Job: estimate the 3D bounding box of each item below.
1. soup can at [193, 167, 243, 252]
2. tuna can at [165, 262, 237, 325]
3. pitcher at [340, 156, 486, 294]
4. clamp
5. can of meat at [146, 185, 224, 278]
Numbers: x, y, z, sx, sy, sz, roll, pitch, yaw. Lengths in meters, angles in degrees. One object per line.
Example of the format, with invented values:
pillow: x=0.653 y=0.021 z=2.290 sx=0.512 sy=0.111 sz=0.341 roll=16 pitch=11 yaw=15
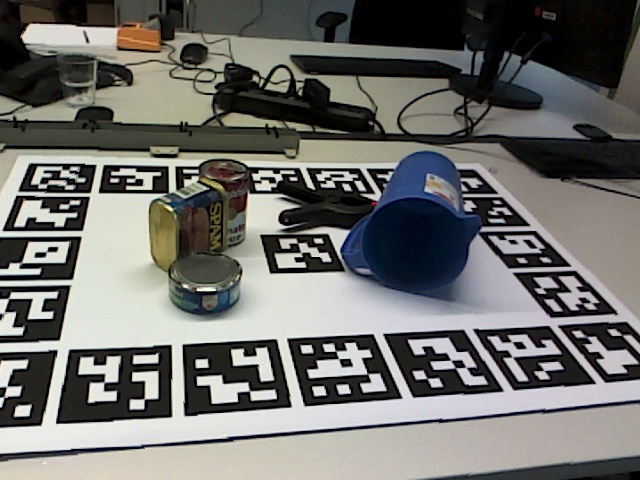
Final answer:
soup can: x=-0.142 y=-0.042 z=0.867 sx=0.068 sy=0.102 sz=0.068 roll=3 pitch=33 yaw=-2
tuna can: x=-0.144 y=0.065 z=0.753 sx=0.085 sy=0.033 sz=0.086 roll=5 pitch=33 yaw=-4
pitcher: x=0.133 y=-0.034 z=0.870 sx=0.189 sy=0.133 sz=0.242 roll=-9 pitch=20 yaw=16
clamp: x=-0.005 y=-0.039 z=0.970 sx=0.164 sy=0.036 sz=0.122 roll=3 pitch=27 yaw=-13
can of meat: x=-0.174 y=-0.009 z=0.798 sx=0.058 sy=0.101 sz=0.083 roll=31 pitch=42 yaw=32
